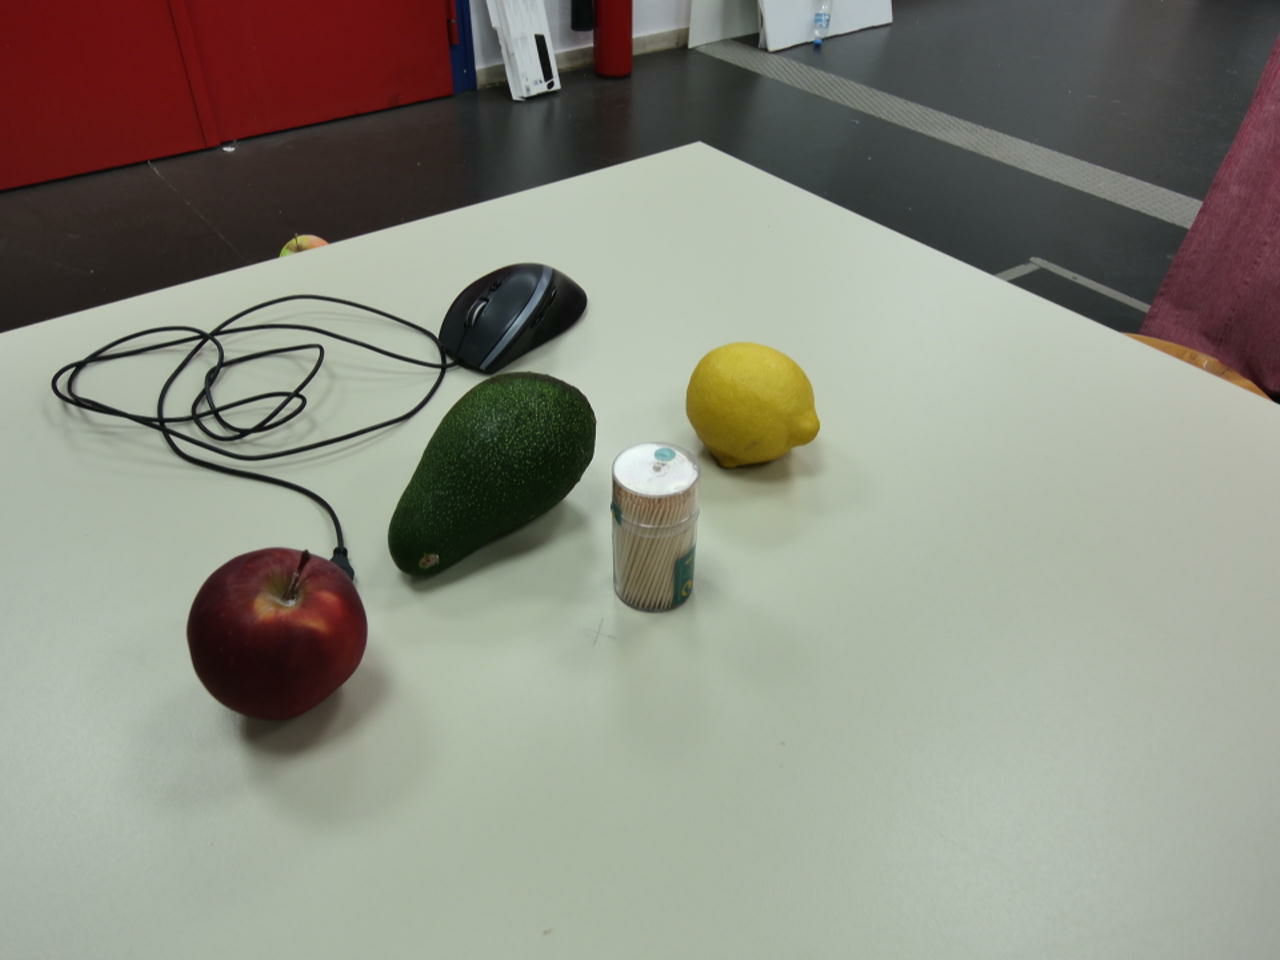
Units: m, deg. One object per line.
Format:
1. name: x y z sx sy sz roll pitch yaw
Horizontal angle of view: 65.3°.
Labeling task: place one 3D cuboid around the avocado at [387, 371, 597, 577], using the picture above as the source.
1. avocado: -0.078 -0.011 0.501 0.123 0.076 0.074 -20 42 -25
